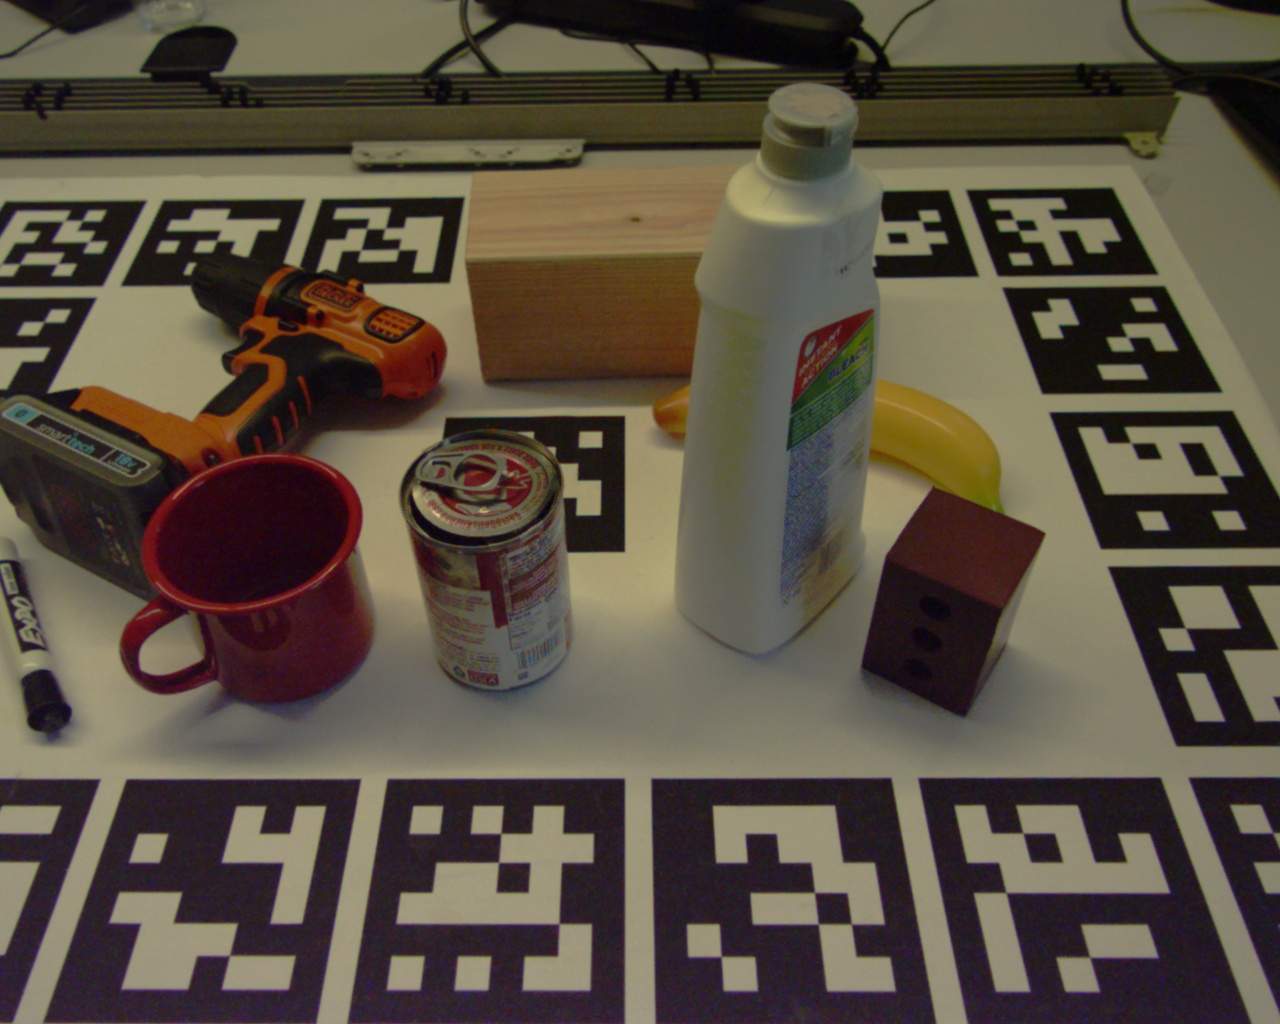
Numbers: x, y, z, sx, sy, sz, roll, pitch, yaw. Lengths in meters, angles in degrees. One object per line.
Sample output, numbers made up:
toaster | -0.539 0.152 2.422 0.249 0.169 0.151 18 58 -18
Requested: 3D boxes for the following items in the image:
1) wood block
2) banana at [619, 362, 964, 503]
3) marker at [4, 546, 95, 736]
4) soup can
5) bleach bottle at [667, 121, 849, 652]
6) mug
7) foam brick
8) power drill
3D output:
wood block | 0.005 -0.136 0.693 0.206 0.090 0.090 -2 48 -1
banana | 0.088 -0.057 0.647 0.198 0.038 0.074 12 62 9
marker | -0.292 0.063 0.562 0.019 0.019 0.122 -25 52 -19
soup can | -0.068 0.020 0.530 0.068 0.102 0.068 1 43 -1
bleach bottle | 0.056 -0.051 0.502 0.068 0.250 0.102 21 49 19
mug | -0.176 0.035 0.539 0.094 0.081 0.116 35 59 26
foam brick | 0.136 0.041 0.534 0.053 0.078 0.051 24 49 24
power drill | -0.228 -0.059 0.653 0.186 0.057 0.186 23 50 17
